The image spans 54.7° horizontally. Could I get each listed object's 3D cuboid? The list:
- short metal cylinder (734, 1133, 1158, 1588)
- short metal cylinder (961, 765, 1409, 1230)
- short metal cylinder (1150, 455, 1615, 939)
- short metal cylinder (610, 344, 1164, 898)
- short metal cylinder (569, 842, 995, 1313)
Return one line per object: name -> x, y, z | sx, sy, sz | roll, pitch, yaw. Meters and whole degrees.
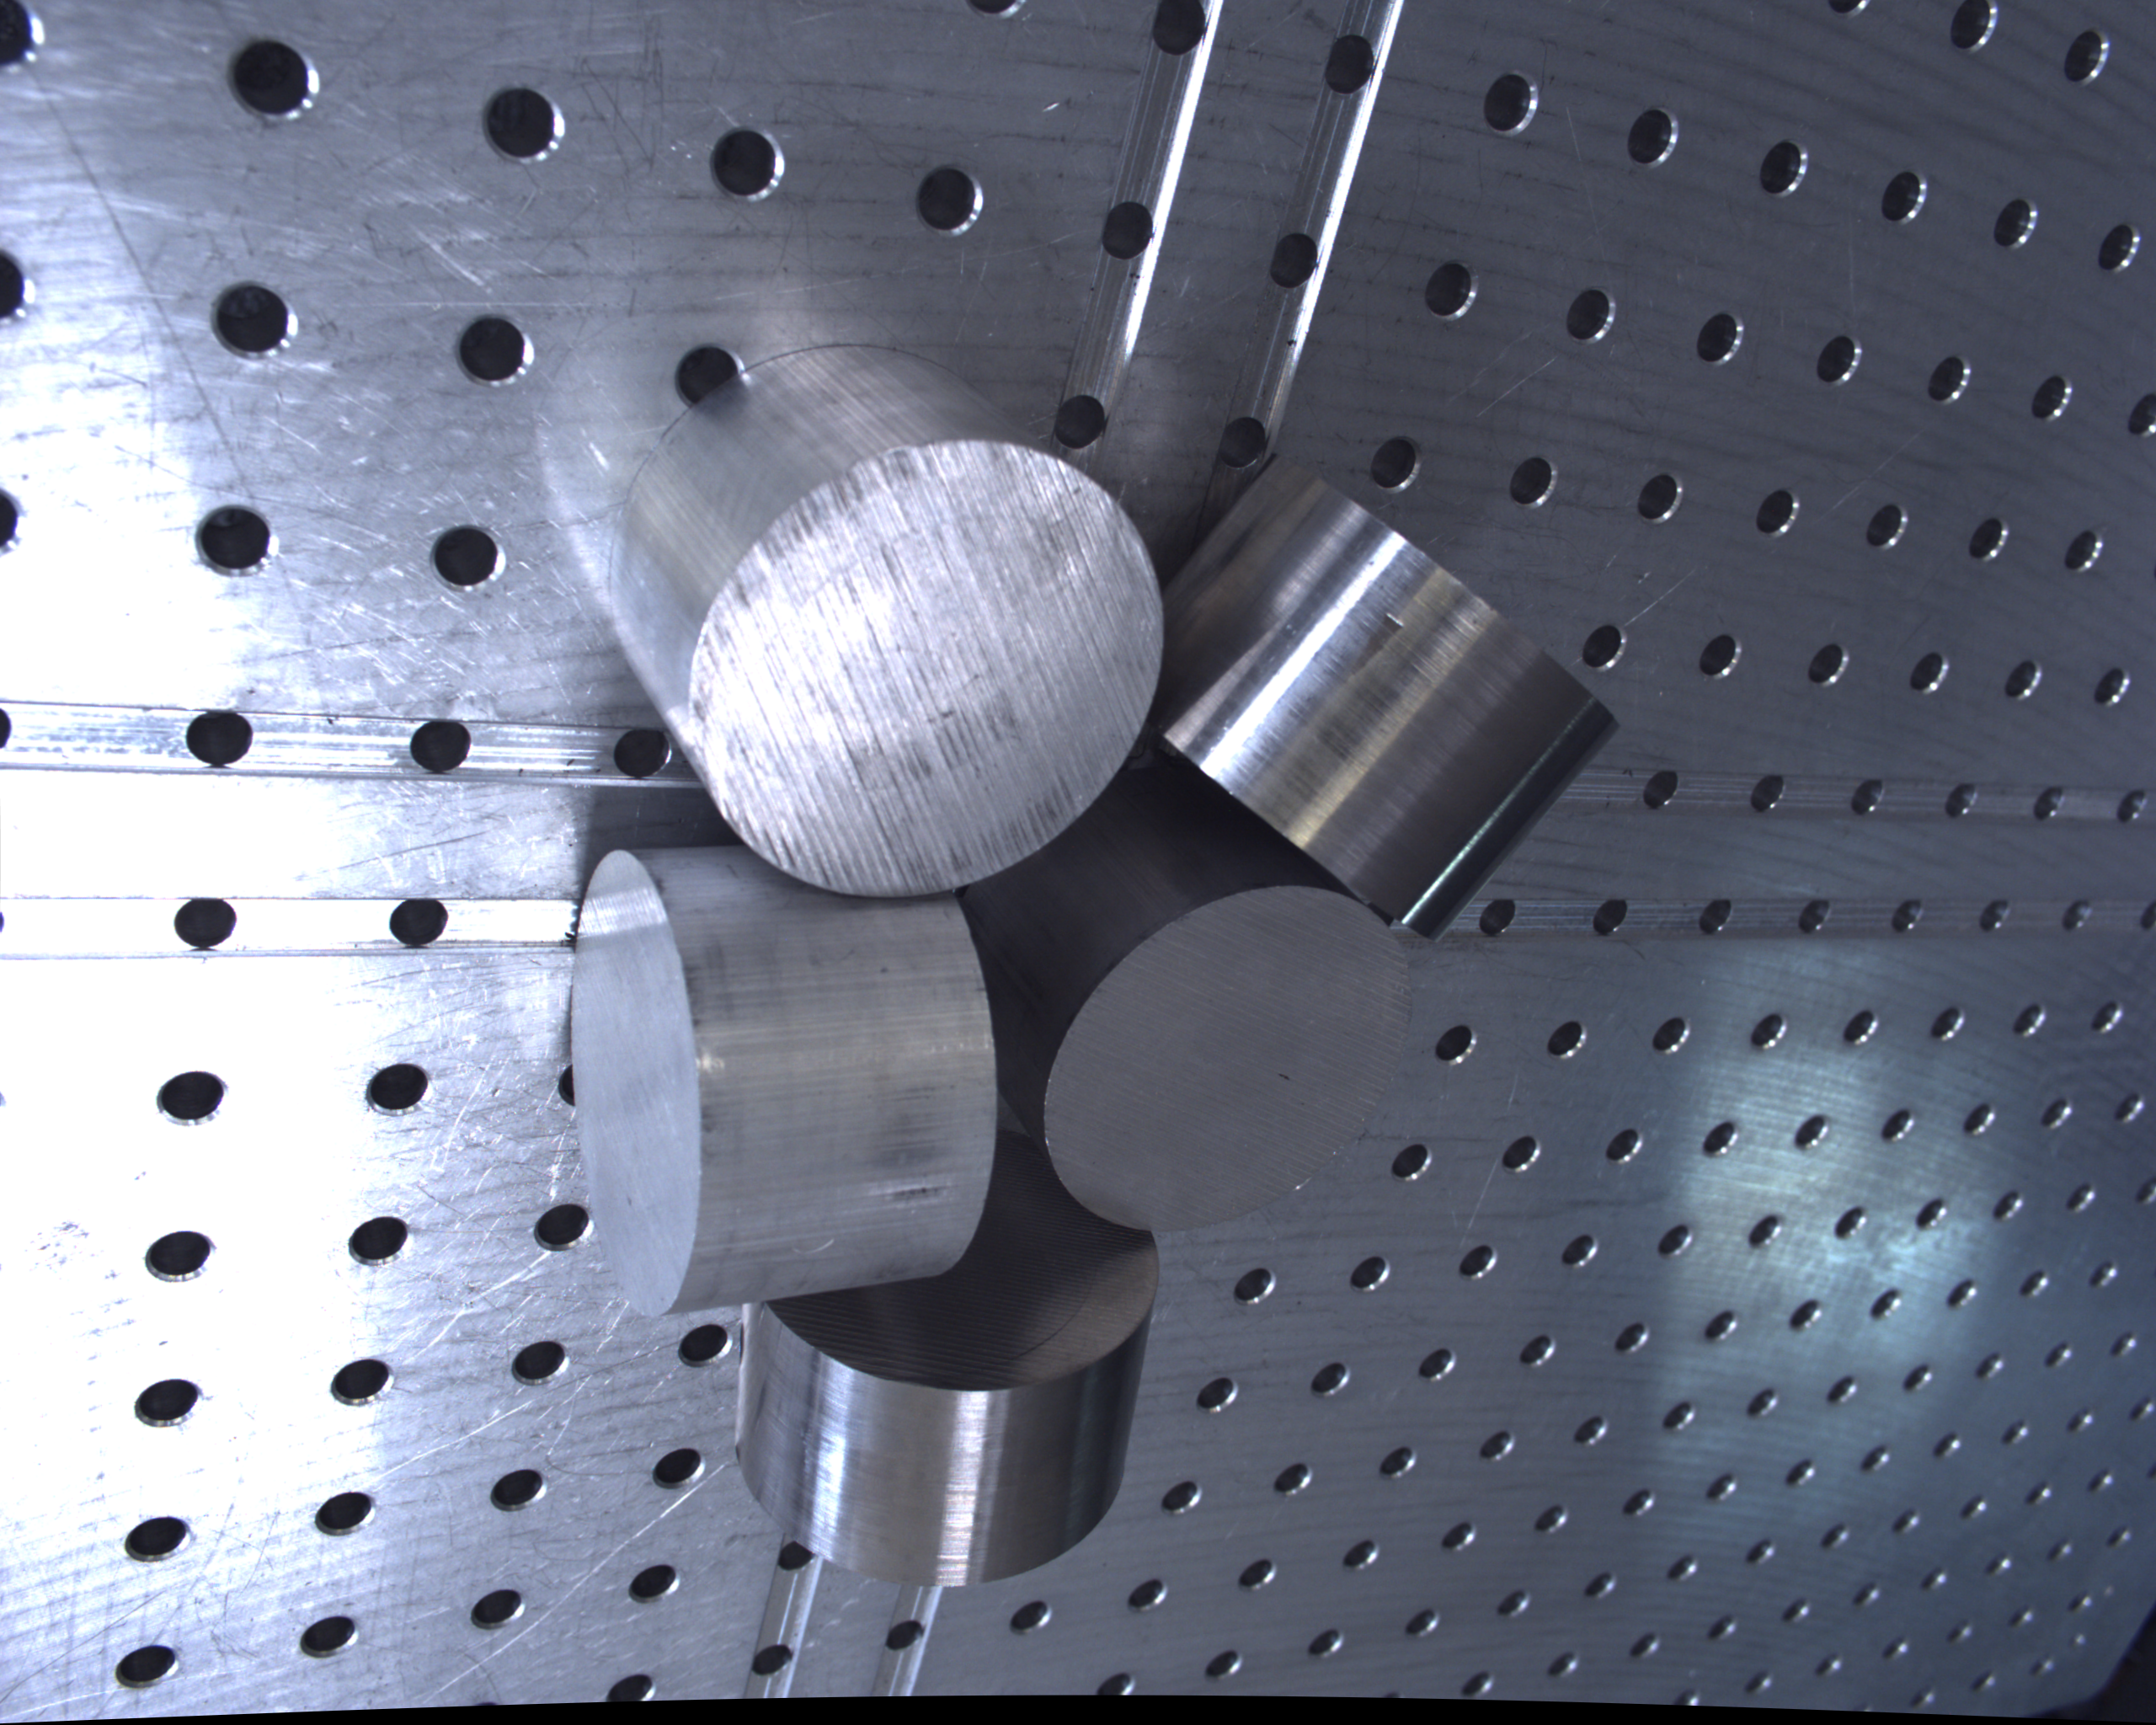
short metal cylinder -> -0.027, 0.097, 0.420 | 0.081, 0.080, 0.050 | -6, 122, -25
short metal cylinder -> 0.019, 0.027, 0.422 | 0.081, 0.050, 0.079 | -14, 125, -21
short metal cylinder -> 0.051, -0.030, 0.384 | 0.080, 0.080, 0.050 | 32, 100, -38
short metal cylinder -> -0.033, -0.041, 0.351 | 0.081, 0.050, 0.079 | -13, 124, -20
short metal cylinder -> -0.055, 0.036, 0.369 | 0.050, 0.080, 0.079 | -3, 120, -28
